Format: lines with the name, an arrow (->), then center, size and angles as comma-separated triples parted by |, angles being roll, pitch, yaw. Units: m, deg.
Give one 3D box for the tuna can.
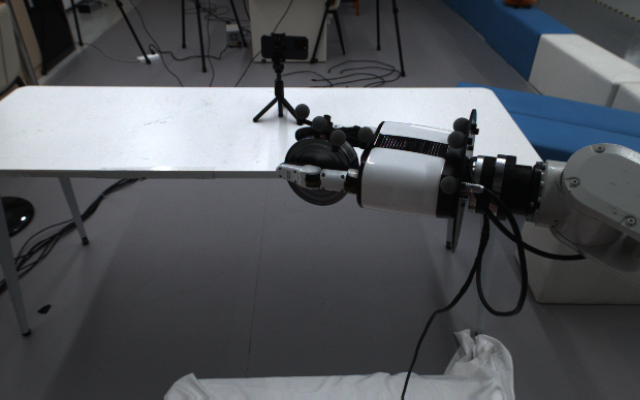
tuna can -> 0.005, -0.039, 0.580 | 0.085, 0.085, 0.034 | 16, 28, 19
